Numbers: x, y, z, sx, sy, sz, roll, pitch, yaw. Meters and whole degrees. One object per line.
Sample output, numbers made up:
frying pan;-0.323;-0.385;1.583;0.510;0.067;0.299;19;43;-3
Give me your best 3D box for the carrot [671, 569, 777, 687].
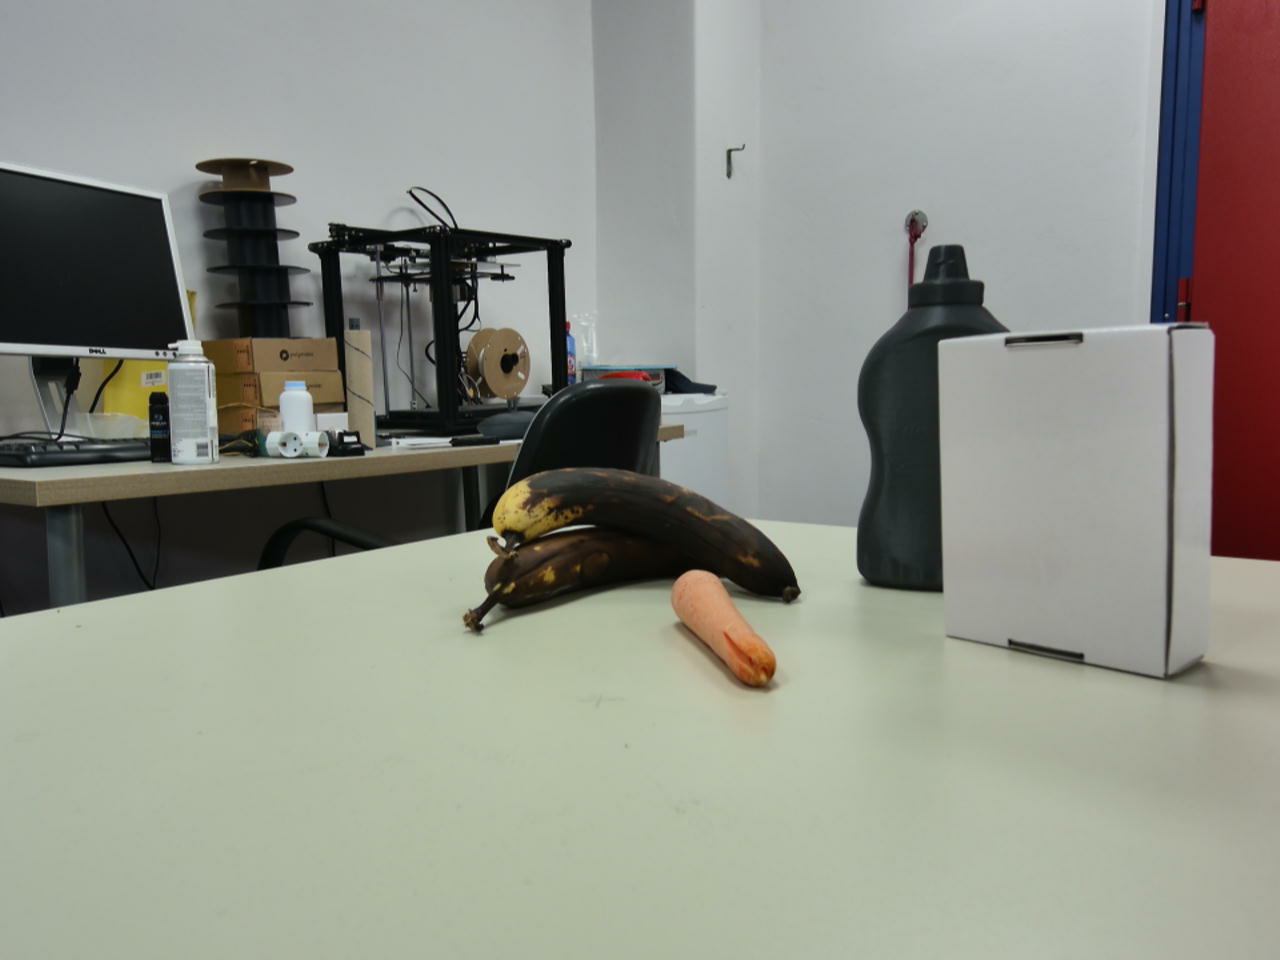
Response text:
carrot;0.038;0.066;0.477;0.030;0.032;0.136;0;4;-8
